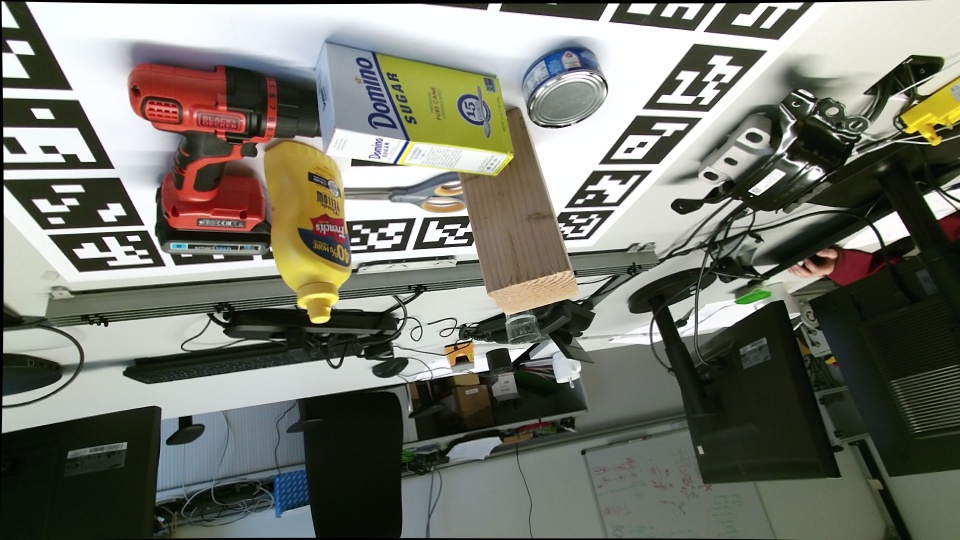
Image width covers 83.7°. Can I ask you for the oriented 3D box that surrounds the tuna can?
[{"bbox_3d":[0.087,-0.180,0.561,0.086,0.033,0.086,-12,154,-6],"label":"tuna can"}]

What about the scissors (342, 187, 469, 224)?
[{"bbox_3d":[-0.084,-0.082,0.702,0.203,0.016,0.088,-5,157,-21],"label":"scissors"}]

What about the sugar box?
[{"bbox_3d":[-0.066,-0.140,0.504,0.177,0.092,0.045,2,154,-29],"label":"sugar box"}]

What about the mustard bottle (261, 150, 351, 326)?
[{"bbox_3d":[-0.181,-0.030,0.572,0.058,0.190,0.096,-24,153,17],"label":"mustard bottle"}]

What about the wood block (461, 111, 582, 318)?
[{"bbox_3d":[0.037,-0.062,0.609,0.091,0.205,0.090,-18,154,7],"label":"wood block"}]

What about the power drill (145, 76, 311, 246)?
[{"bbox_3d":[-0.226,-0.101,0.537,0.185,0.057,0.187,1,144,-31],"label":"power drill"}]
